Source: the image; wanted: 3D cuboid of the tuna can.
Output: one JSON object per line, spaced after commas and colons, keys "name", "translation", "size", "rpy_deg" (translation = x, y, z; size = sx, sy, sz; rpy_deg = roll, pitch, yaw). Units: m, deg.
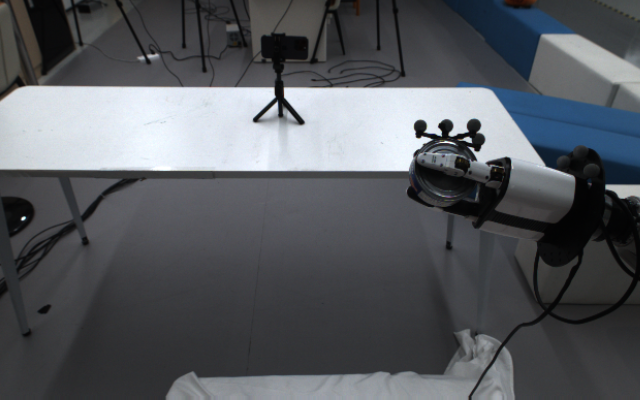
{"name": "tuna can", "translation": [0.163, -0.039, 0.633], "size": [0.085, 0.034, 0.085], "rpy_deg": [1, 73, -4]}
